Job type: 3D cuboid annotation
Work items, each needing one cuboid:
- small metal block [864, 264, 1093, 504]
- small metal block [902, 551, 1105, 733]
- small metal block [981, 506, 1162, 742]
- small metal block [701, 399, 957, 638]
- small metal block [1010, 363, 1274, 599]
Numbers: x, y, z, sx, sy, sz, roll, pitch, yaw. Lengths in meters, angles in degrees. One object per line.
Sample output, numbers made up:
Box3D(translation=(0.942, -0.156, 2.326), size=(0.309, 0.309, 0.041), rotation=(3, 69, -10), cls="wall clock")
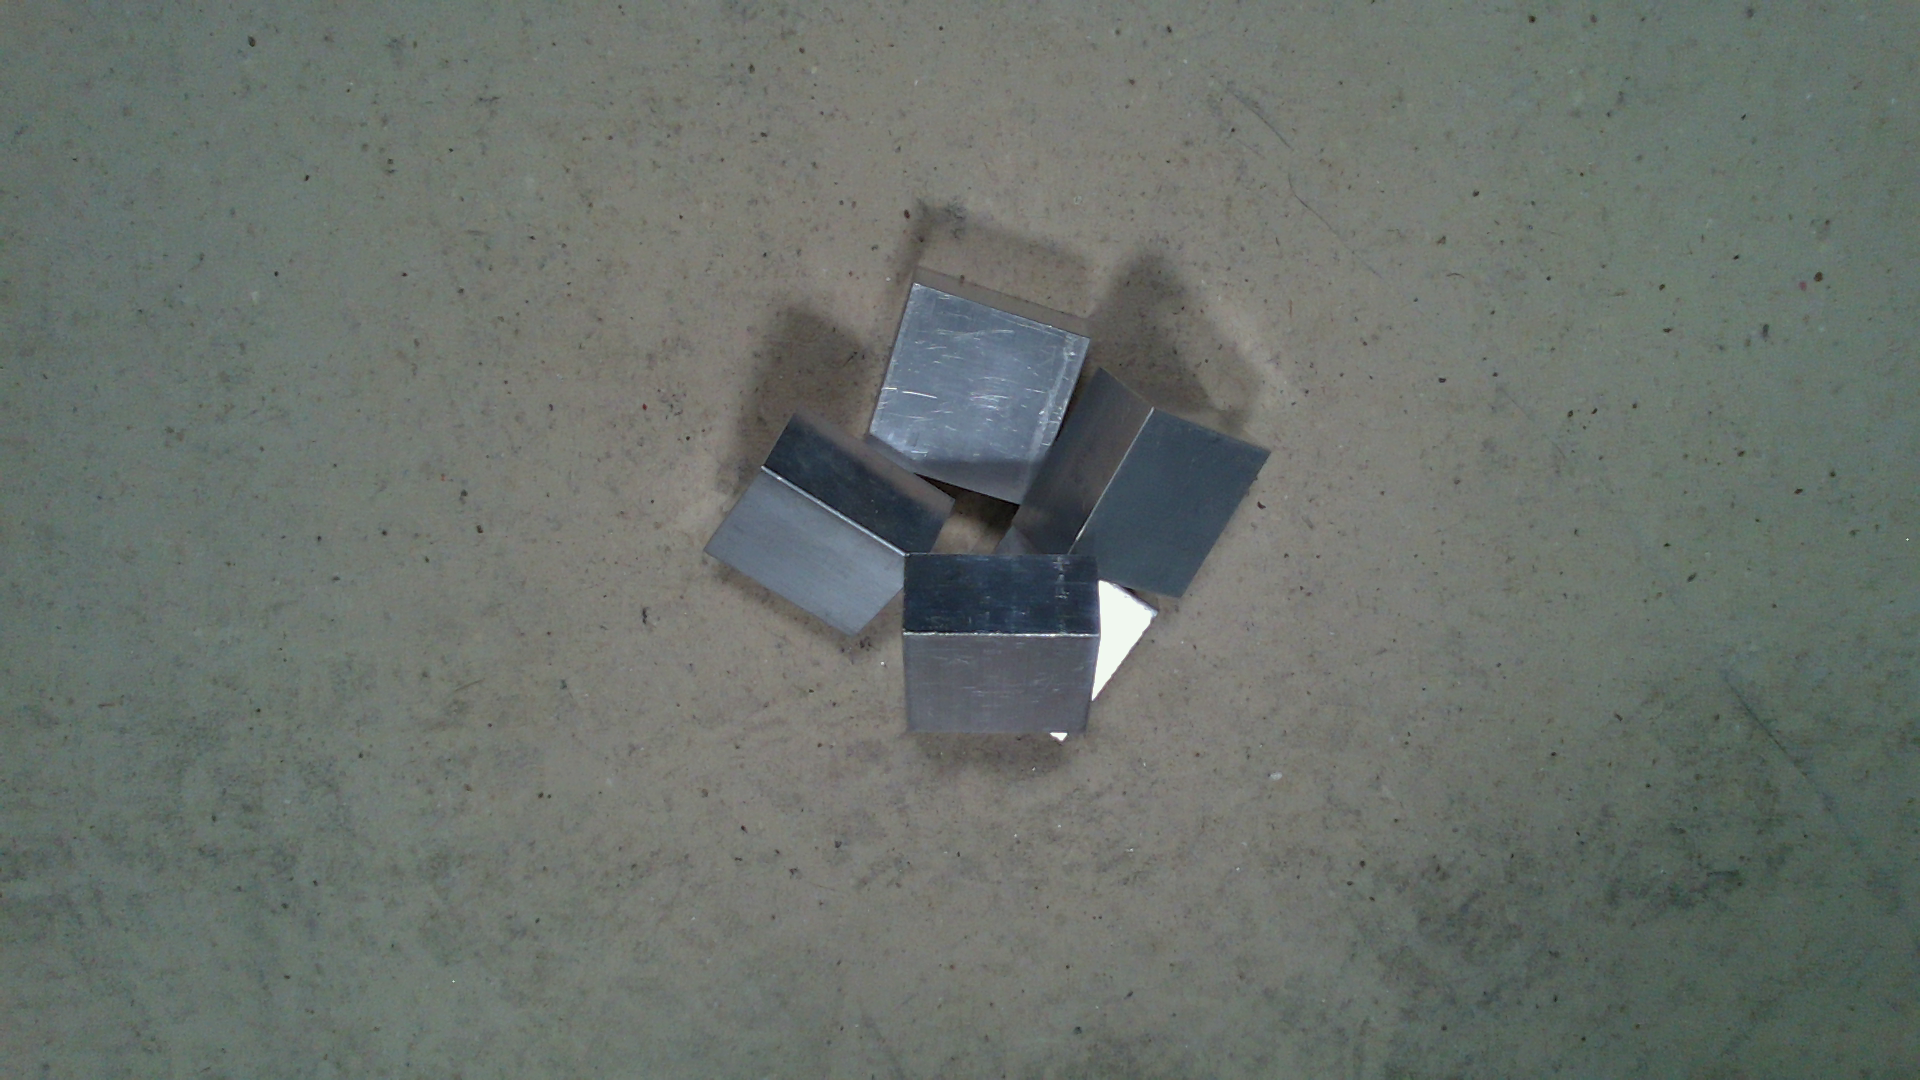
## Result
Box3D(translation=(0.004, -0.043, 0.379), size=(0.050, 0.025, 0.050), rotation=(16, 109, -6), cls="small metal block")
Box3D(translation=(0.011, 0.028, 0.366), size=(0.050, 0.025, 0.050), rotation=(0, 143, 0), cls="small metal block")
Box3D(translation=(0.023, 0.023, 0.403), size=(0.050, 0.025, 0.050), rotation=(31, 107, -11), cls="small metal block")
Box3D(translation=(-0.037, -0.004, 0.380), size=(0.050, 0.025, 0.050), rotation=(31, 143, -12), cls="small metal block")
Box3D(translation=(0.050, -0.015, 0.377), size=(0.050, 0.025, 0.050), rotation=(13, 114, -41), cls="small metal block")
